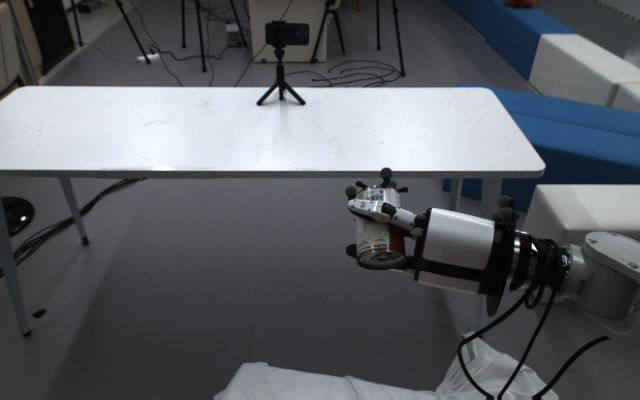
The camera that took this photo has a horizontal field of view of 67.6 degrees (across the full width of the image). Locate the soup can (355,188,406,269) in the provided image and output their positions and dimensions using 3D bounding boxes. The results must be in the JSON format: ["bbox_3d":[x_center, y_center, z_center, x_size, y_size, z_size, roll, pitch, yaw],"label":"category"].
[{"bbox_3d":[0.085,0.039,0.680,0.067,0.067,0.101,1,62,-2],"label":"soup can"}]
